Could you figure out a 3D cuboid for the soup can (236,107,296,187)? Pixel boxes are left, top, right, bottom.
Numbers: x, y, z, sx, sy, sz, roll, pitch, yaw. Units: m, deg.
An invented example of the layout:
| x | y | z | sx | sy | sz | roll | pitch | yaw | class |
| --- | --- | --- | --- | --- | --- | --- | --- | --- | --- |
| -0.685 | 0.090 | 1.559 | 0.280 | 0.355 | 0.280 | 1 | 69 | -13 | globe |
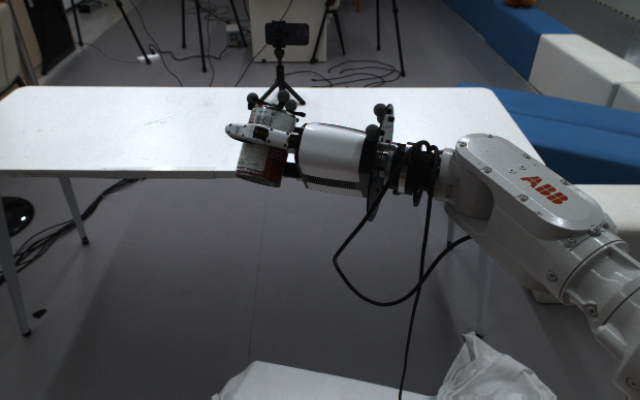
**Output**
| x | y | z | sx | sy | sz | roll | pitch | yaw | class |
| --- | --- | --- | --- | --- | --- | --- | --- | --- | --- |
| -0.076 | -0.074 | 0.686 | 0.067 | 0.101 | 0.067 | 13 | -6 | 1 | soup can |
